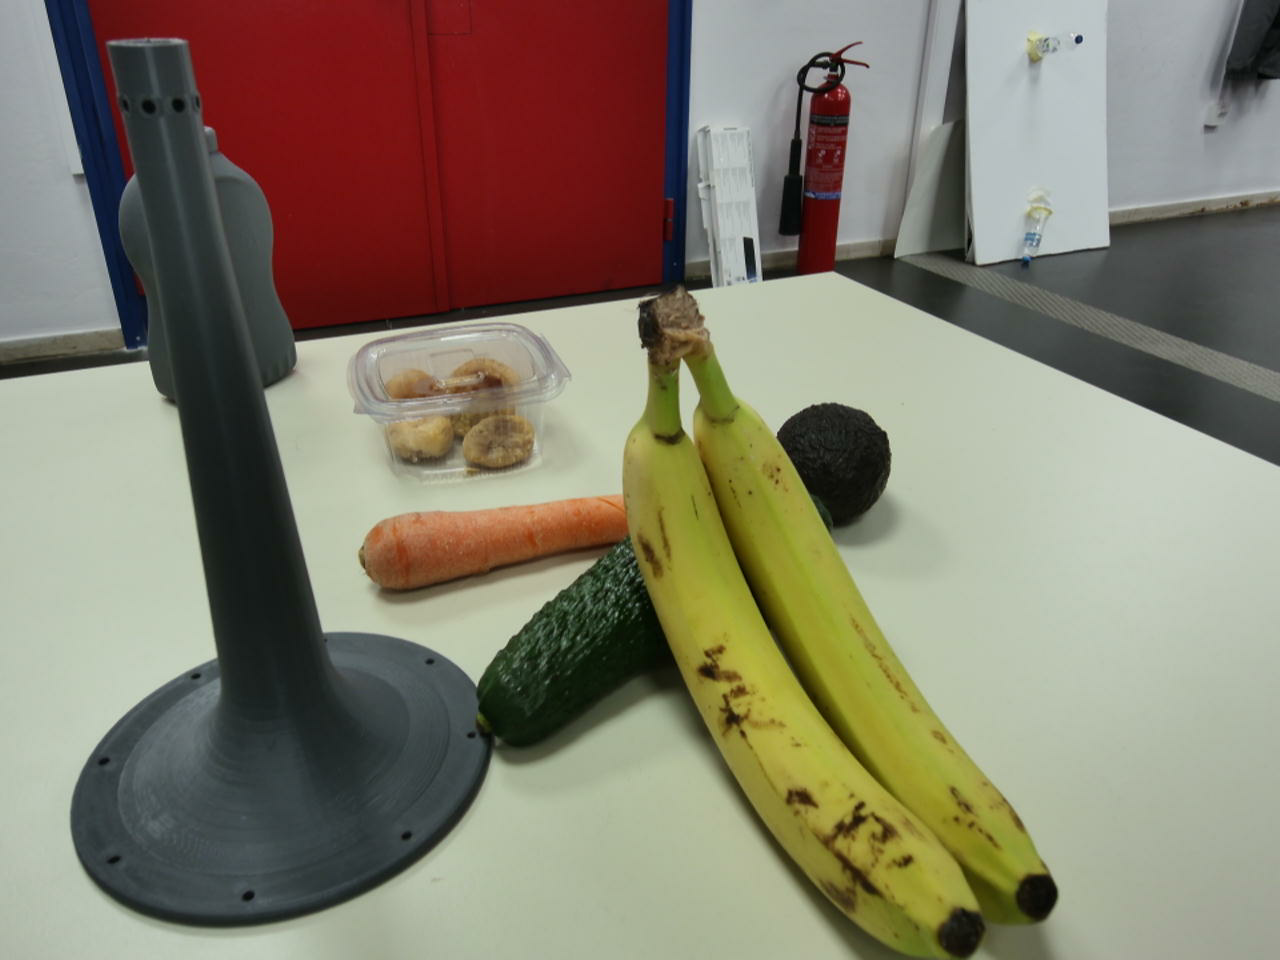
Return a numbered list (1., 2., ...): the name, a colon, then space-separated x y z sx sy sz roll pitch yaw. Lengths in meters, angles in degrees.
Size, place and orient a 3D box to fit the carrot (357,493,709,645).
1. carrot: -0.048 0.023 0.539 0.196 0.041 0.039 -12 28 -22
